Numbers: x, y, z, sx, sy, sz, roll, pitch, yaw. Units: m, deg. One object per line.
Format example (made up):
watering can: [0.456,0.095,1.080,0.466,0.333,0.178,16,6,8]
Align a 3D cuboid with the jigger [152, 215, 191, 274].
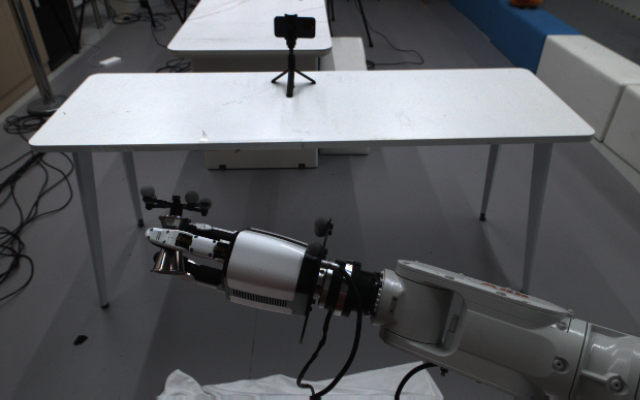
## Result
jigger: [-0.183,0.056,0.598,0.043,0.043,0.071,3,77,1]
